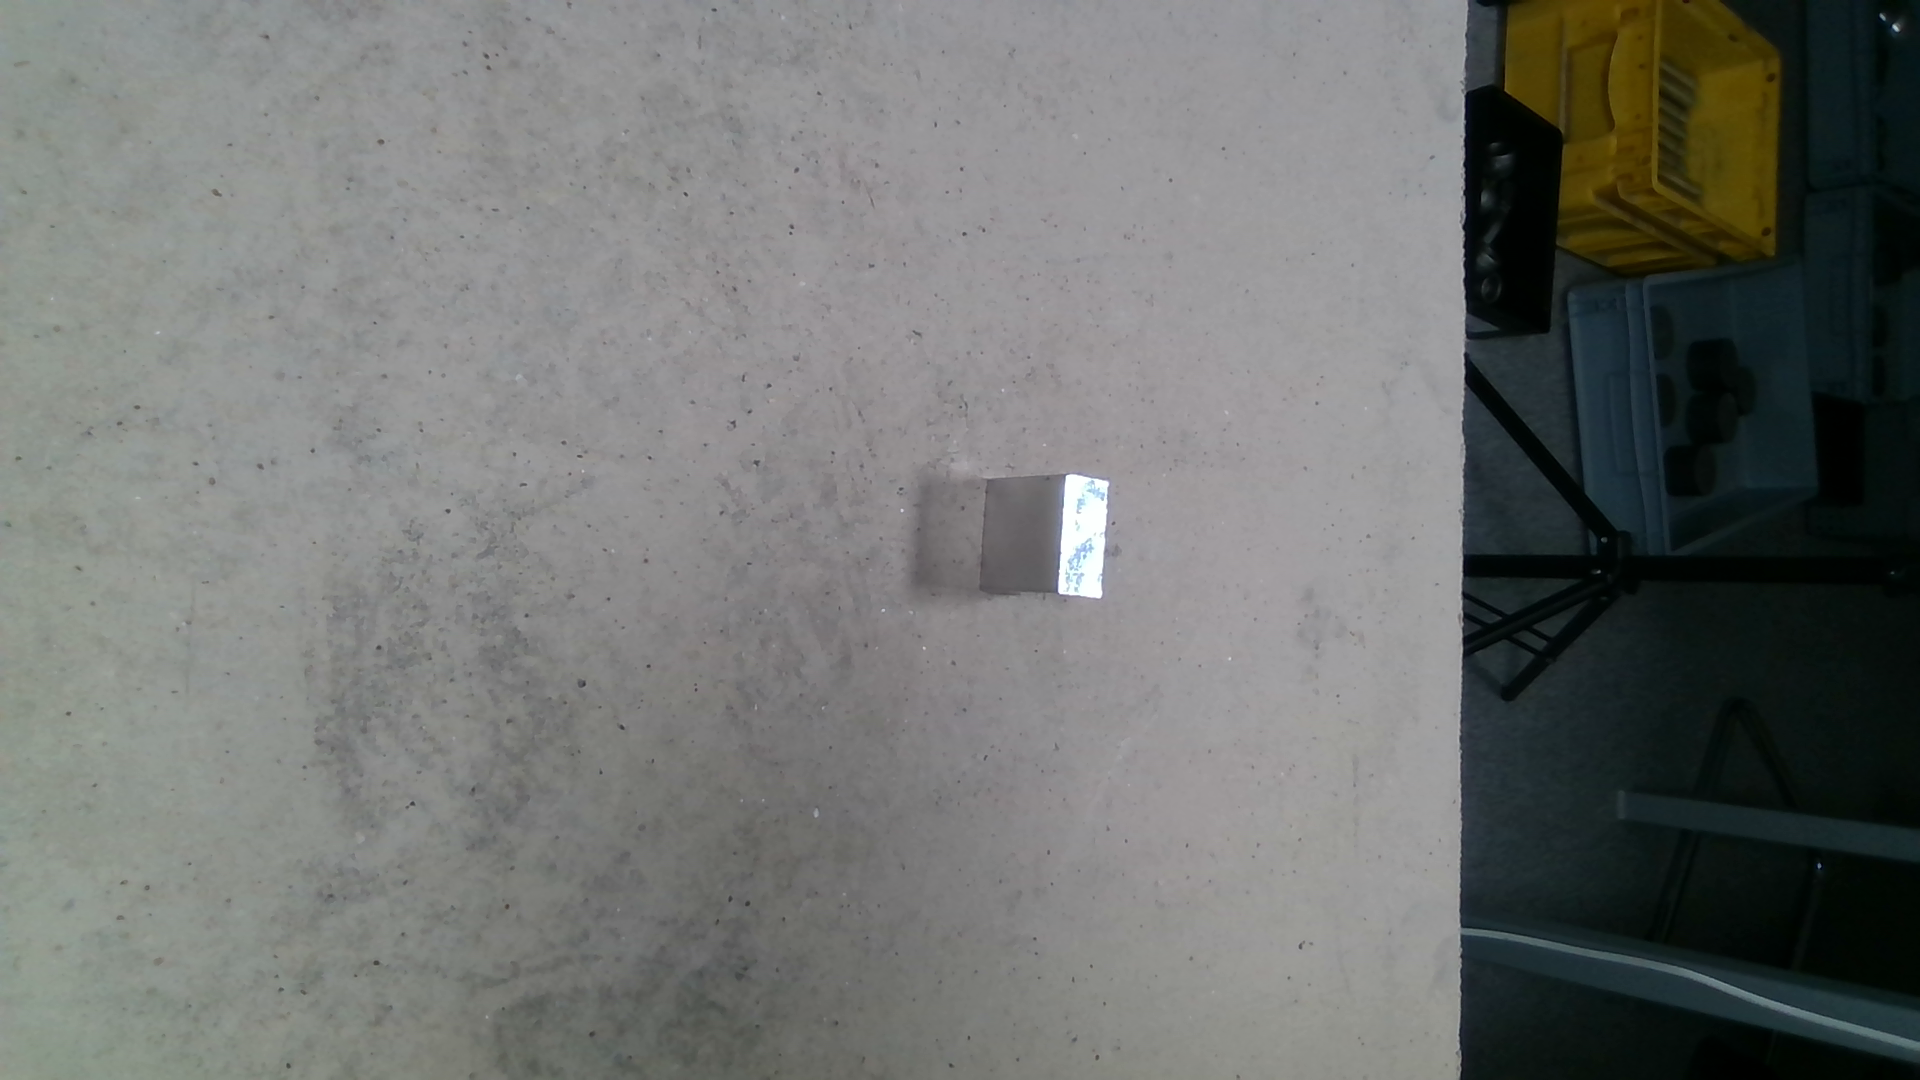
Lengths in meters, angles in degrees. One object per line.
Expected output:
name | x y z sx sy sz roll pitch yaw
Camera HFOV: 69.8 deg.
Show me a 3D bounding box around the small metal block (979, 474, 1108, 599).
small metal block | 0.036 -0.001 0.597 0.025 0.050 0.050 7 86 -40
